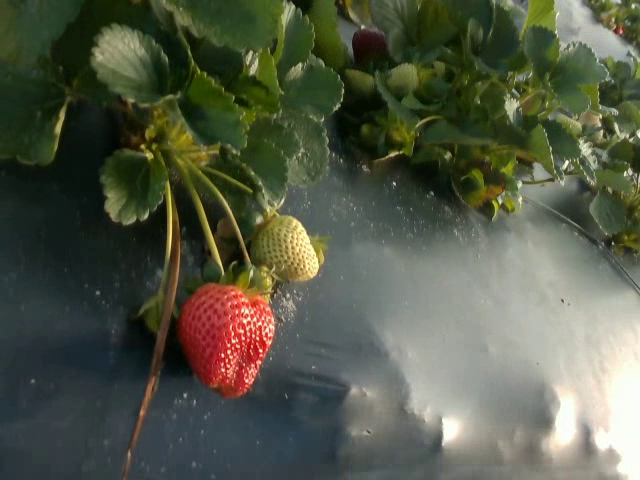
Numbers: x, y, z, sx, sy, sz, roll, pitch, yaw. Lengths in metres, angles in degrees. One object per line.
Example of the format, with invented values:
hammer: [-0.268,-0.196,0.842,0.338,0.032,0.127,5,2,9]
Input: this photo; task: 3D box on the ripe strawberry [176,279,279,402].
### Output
ripe strawberry: [-0.036,0.044,0.253,0.047,0.050,0.034,17,-21,-33]
